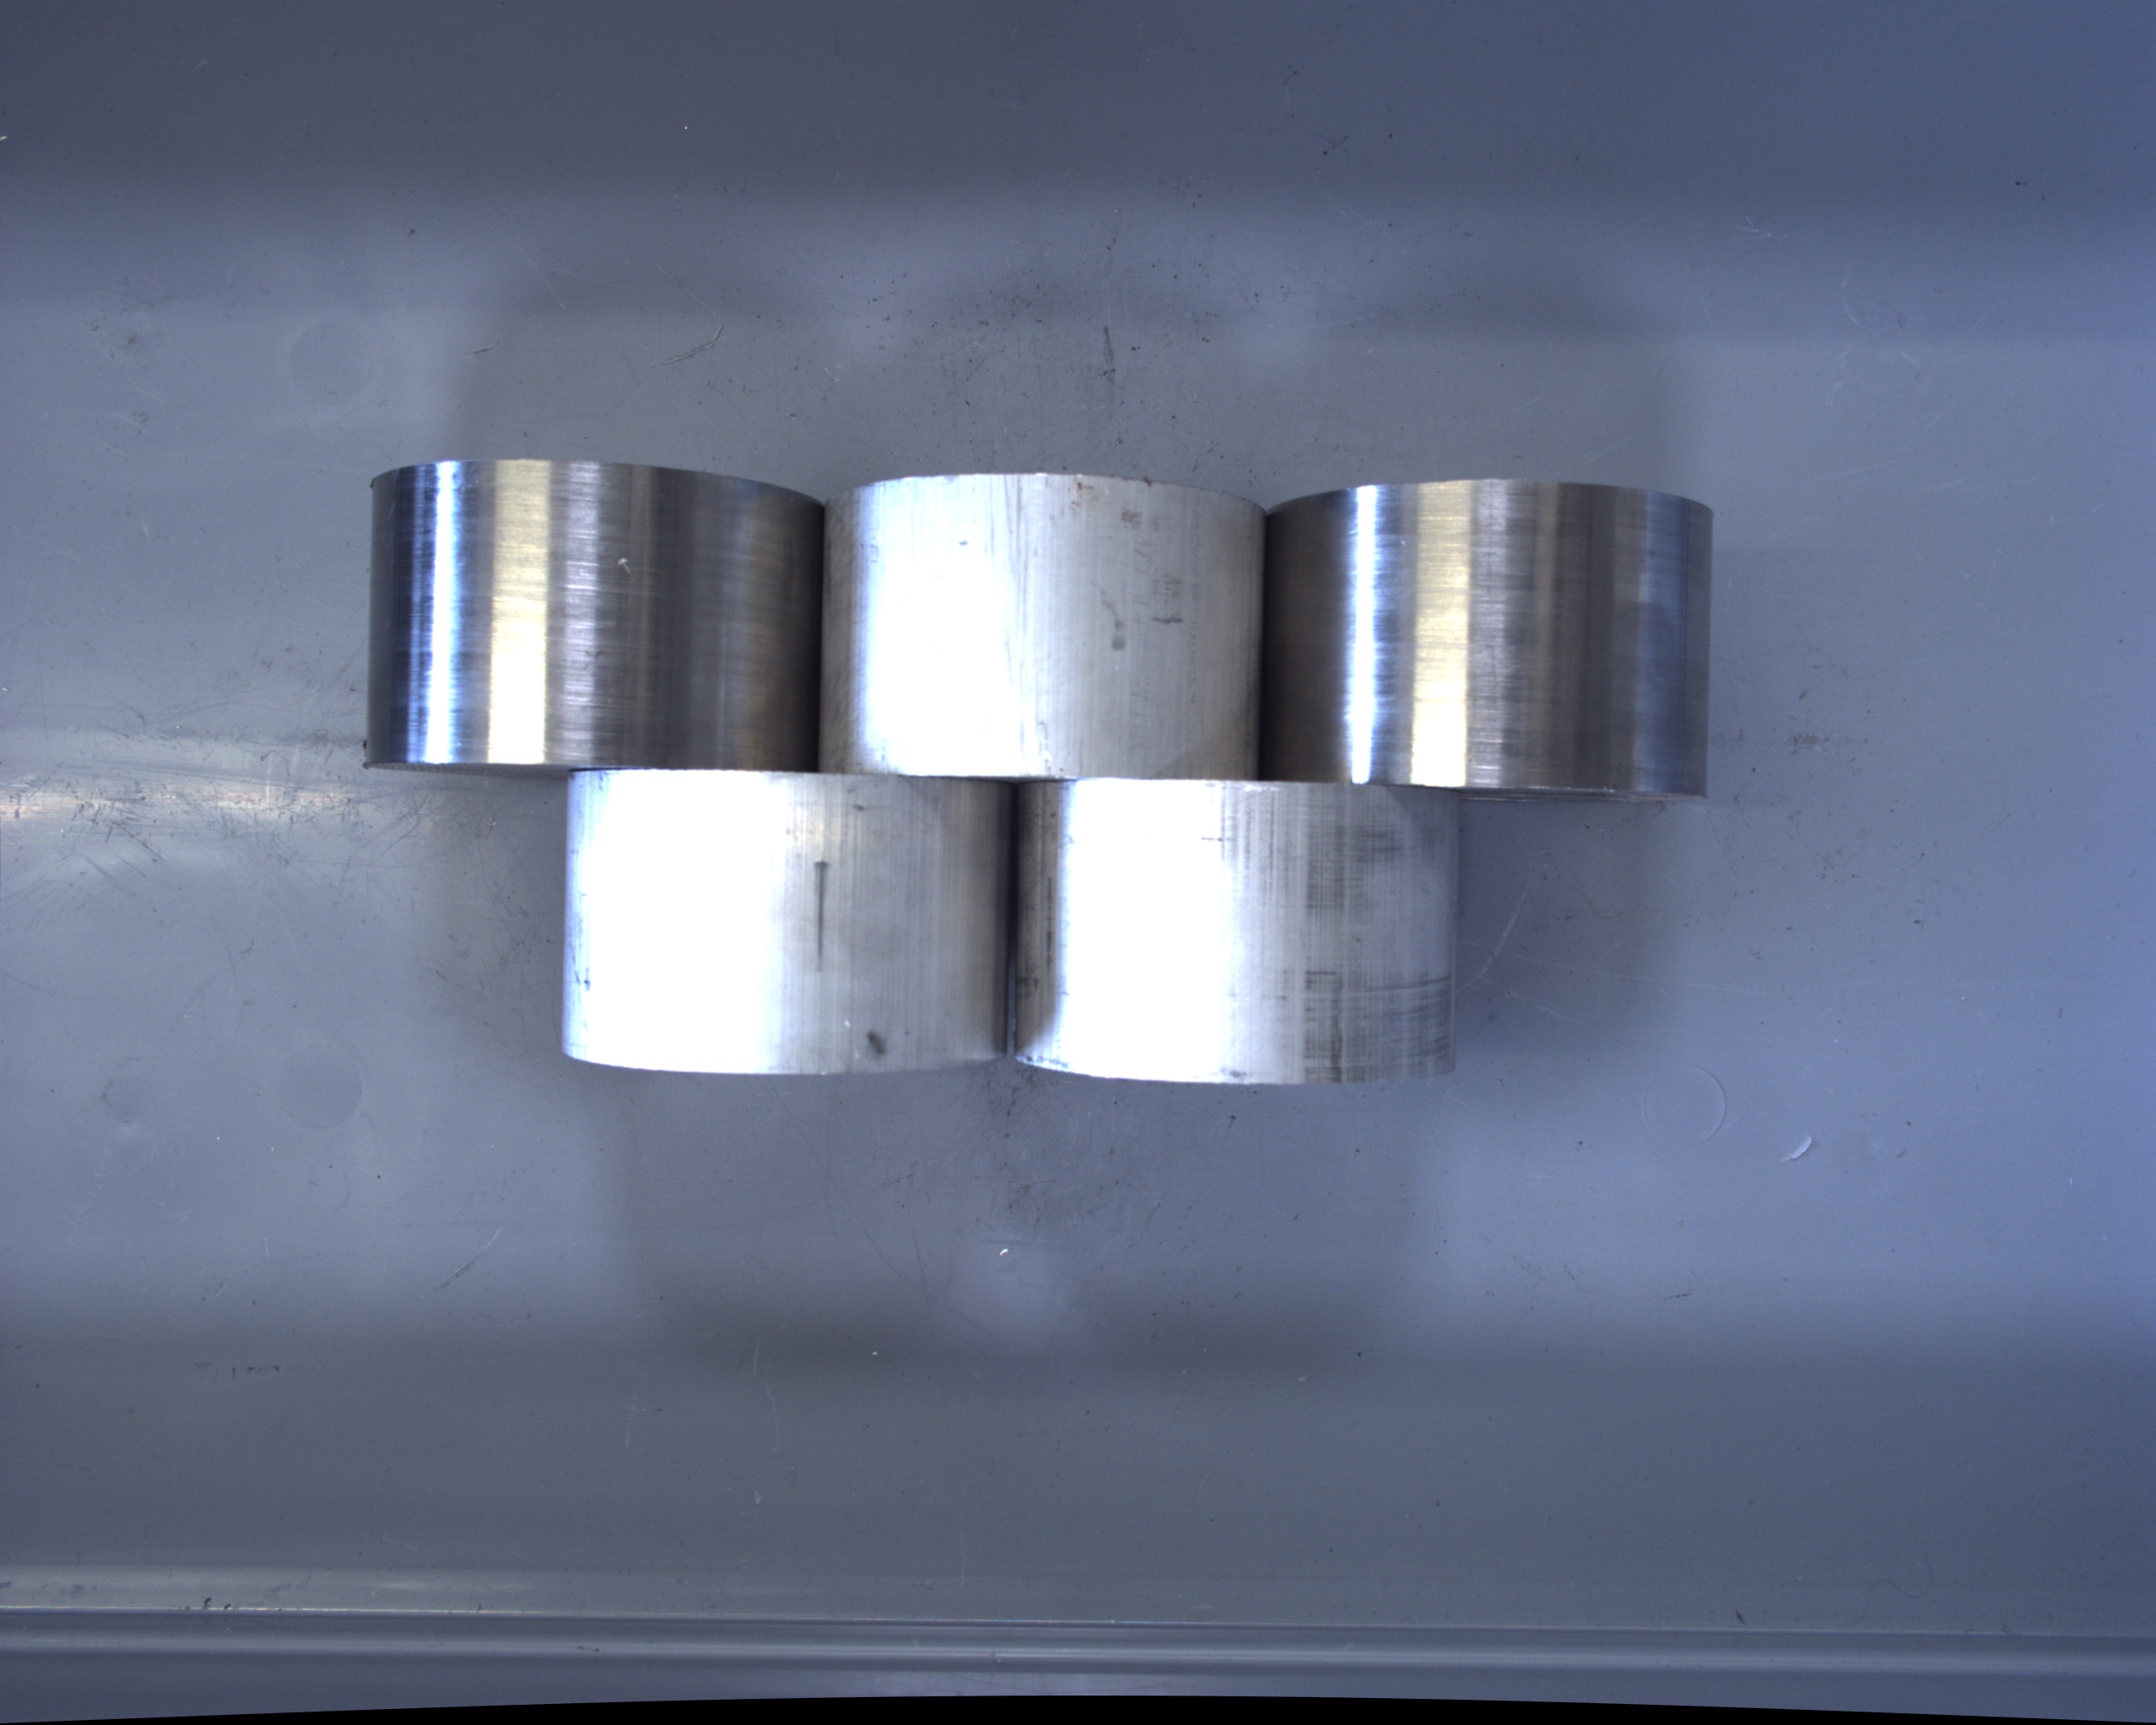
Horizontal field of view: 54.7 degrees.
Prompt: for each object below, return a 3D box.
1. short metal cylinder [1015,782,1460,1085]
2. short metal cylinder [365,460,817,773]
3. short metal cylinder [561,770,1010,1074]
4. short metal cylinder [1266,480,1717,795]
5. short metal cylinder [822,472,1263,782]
[{"bbox_3d":[0.029,0.011,0.382,0.081,0.080,0.050,1,90,0],"label":"short metal cylinder"},{"bbox_3d":[-0.088,-0.041,0.381,0.081,0.080,0.050,1,90,0],"label":"short metal cylinder"},{"bbox_3d":[-0.053,0.009,0.382,0.081,0.080,0.050,1,90,0],"label":"short metal cylinder"},{"bbox_3d":[0.074,-0.038,0.383,0.081,0.080,0.050,2,90,0],"label":"short metal cylinder"},{"bbox_3d":[-0.007,-0.039,0.382,0.081,0.080,0.050,1,90,0],"label":"short metal cylinder"}]
